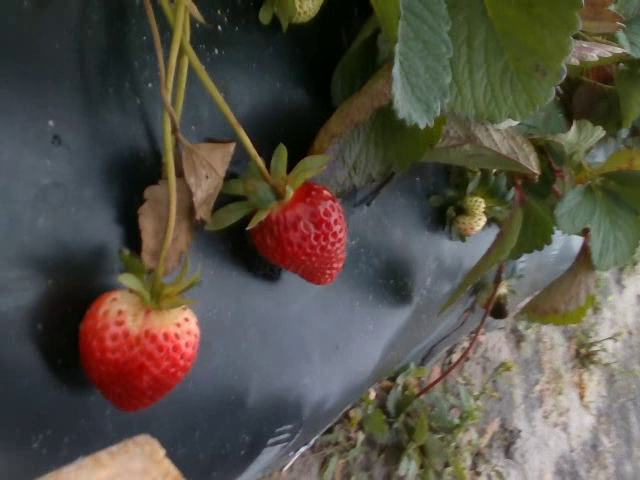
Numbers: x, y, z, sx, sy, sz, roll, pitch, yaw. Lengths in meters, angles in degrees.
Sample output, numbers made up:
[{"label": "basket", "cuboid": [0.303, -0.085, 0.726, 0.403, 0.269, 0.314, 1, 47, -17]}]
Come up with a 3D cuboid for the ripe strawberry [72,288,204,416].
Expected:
[{"label": "ripe strawberry", "cuboid": [-0.050, 0.034, 0.175, 0.027, 0.041, 0.036, 29, 19, 37]}]

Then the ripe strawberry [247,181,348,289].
[{"label": "ripe strawberry", "cuboid": [-0.004, -0.001, 0.231, 0.044, 0.059, 0.042, -30, 43, -10]}]
